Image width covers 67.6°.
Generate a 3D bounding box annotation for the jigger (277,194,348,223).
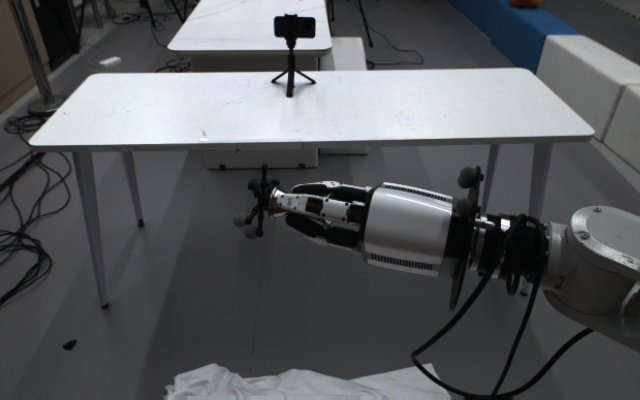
[{"bbox_3d":[-0.014,0.003,0.565,0.071,0.043,0.043,7,35,16],"label":"jigger"}]
